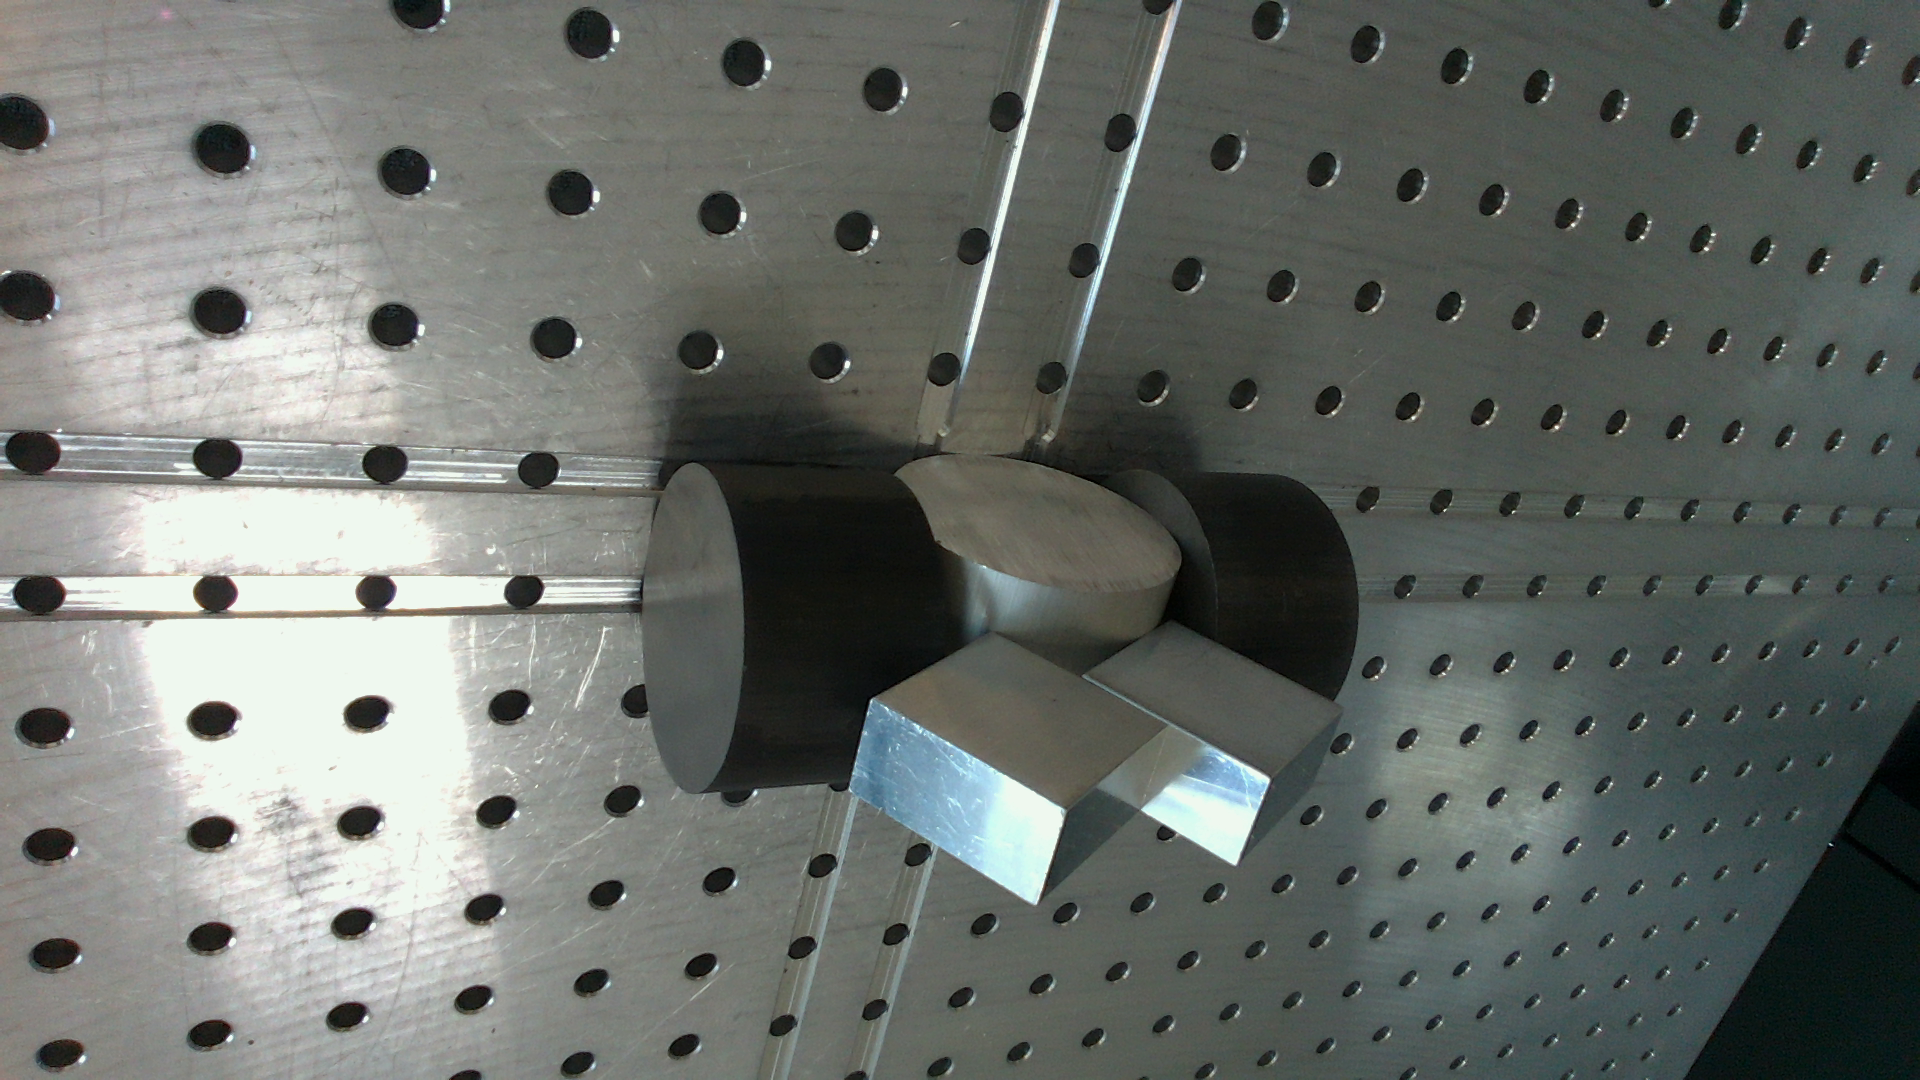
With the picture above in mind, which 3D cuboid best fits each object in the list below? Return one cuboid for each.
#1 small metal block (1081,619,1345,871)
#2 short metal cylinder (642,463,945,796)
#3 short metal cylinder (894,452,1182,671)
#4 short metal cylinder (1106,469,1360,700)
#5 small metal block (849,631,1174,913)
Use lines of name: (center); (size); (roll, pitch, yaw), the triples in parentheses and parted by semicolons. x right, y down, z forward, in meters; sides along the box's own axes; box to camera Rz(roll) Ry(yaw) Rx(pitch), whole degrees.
small metal block: (0.059, 0.048, 0.339); (0.050, 0.050, 0.025); (-23, 134, -54)
short metal cylinder: (-0.045, 0.022, 0.345); (0.050, 0.080, 0.080); (1, 118, -29)
short metal cylinder: (0.014, 0.016, 0.374); (0.080, 0.080, 0.050); (1, 118, -29)
short metal cylinder: (0.071, 0.020, 0.406); (0.050, 0.080, 0.080); (1, 118, -28)
small metal block: (0.012, 0.049, 0.308); (0.050, 0.050, 0.025); (-24, 135, -54)
